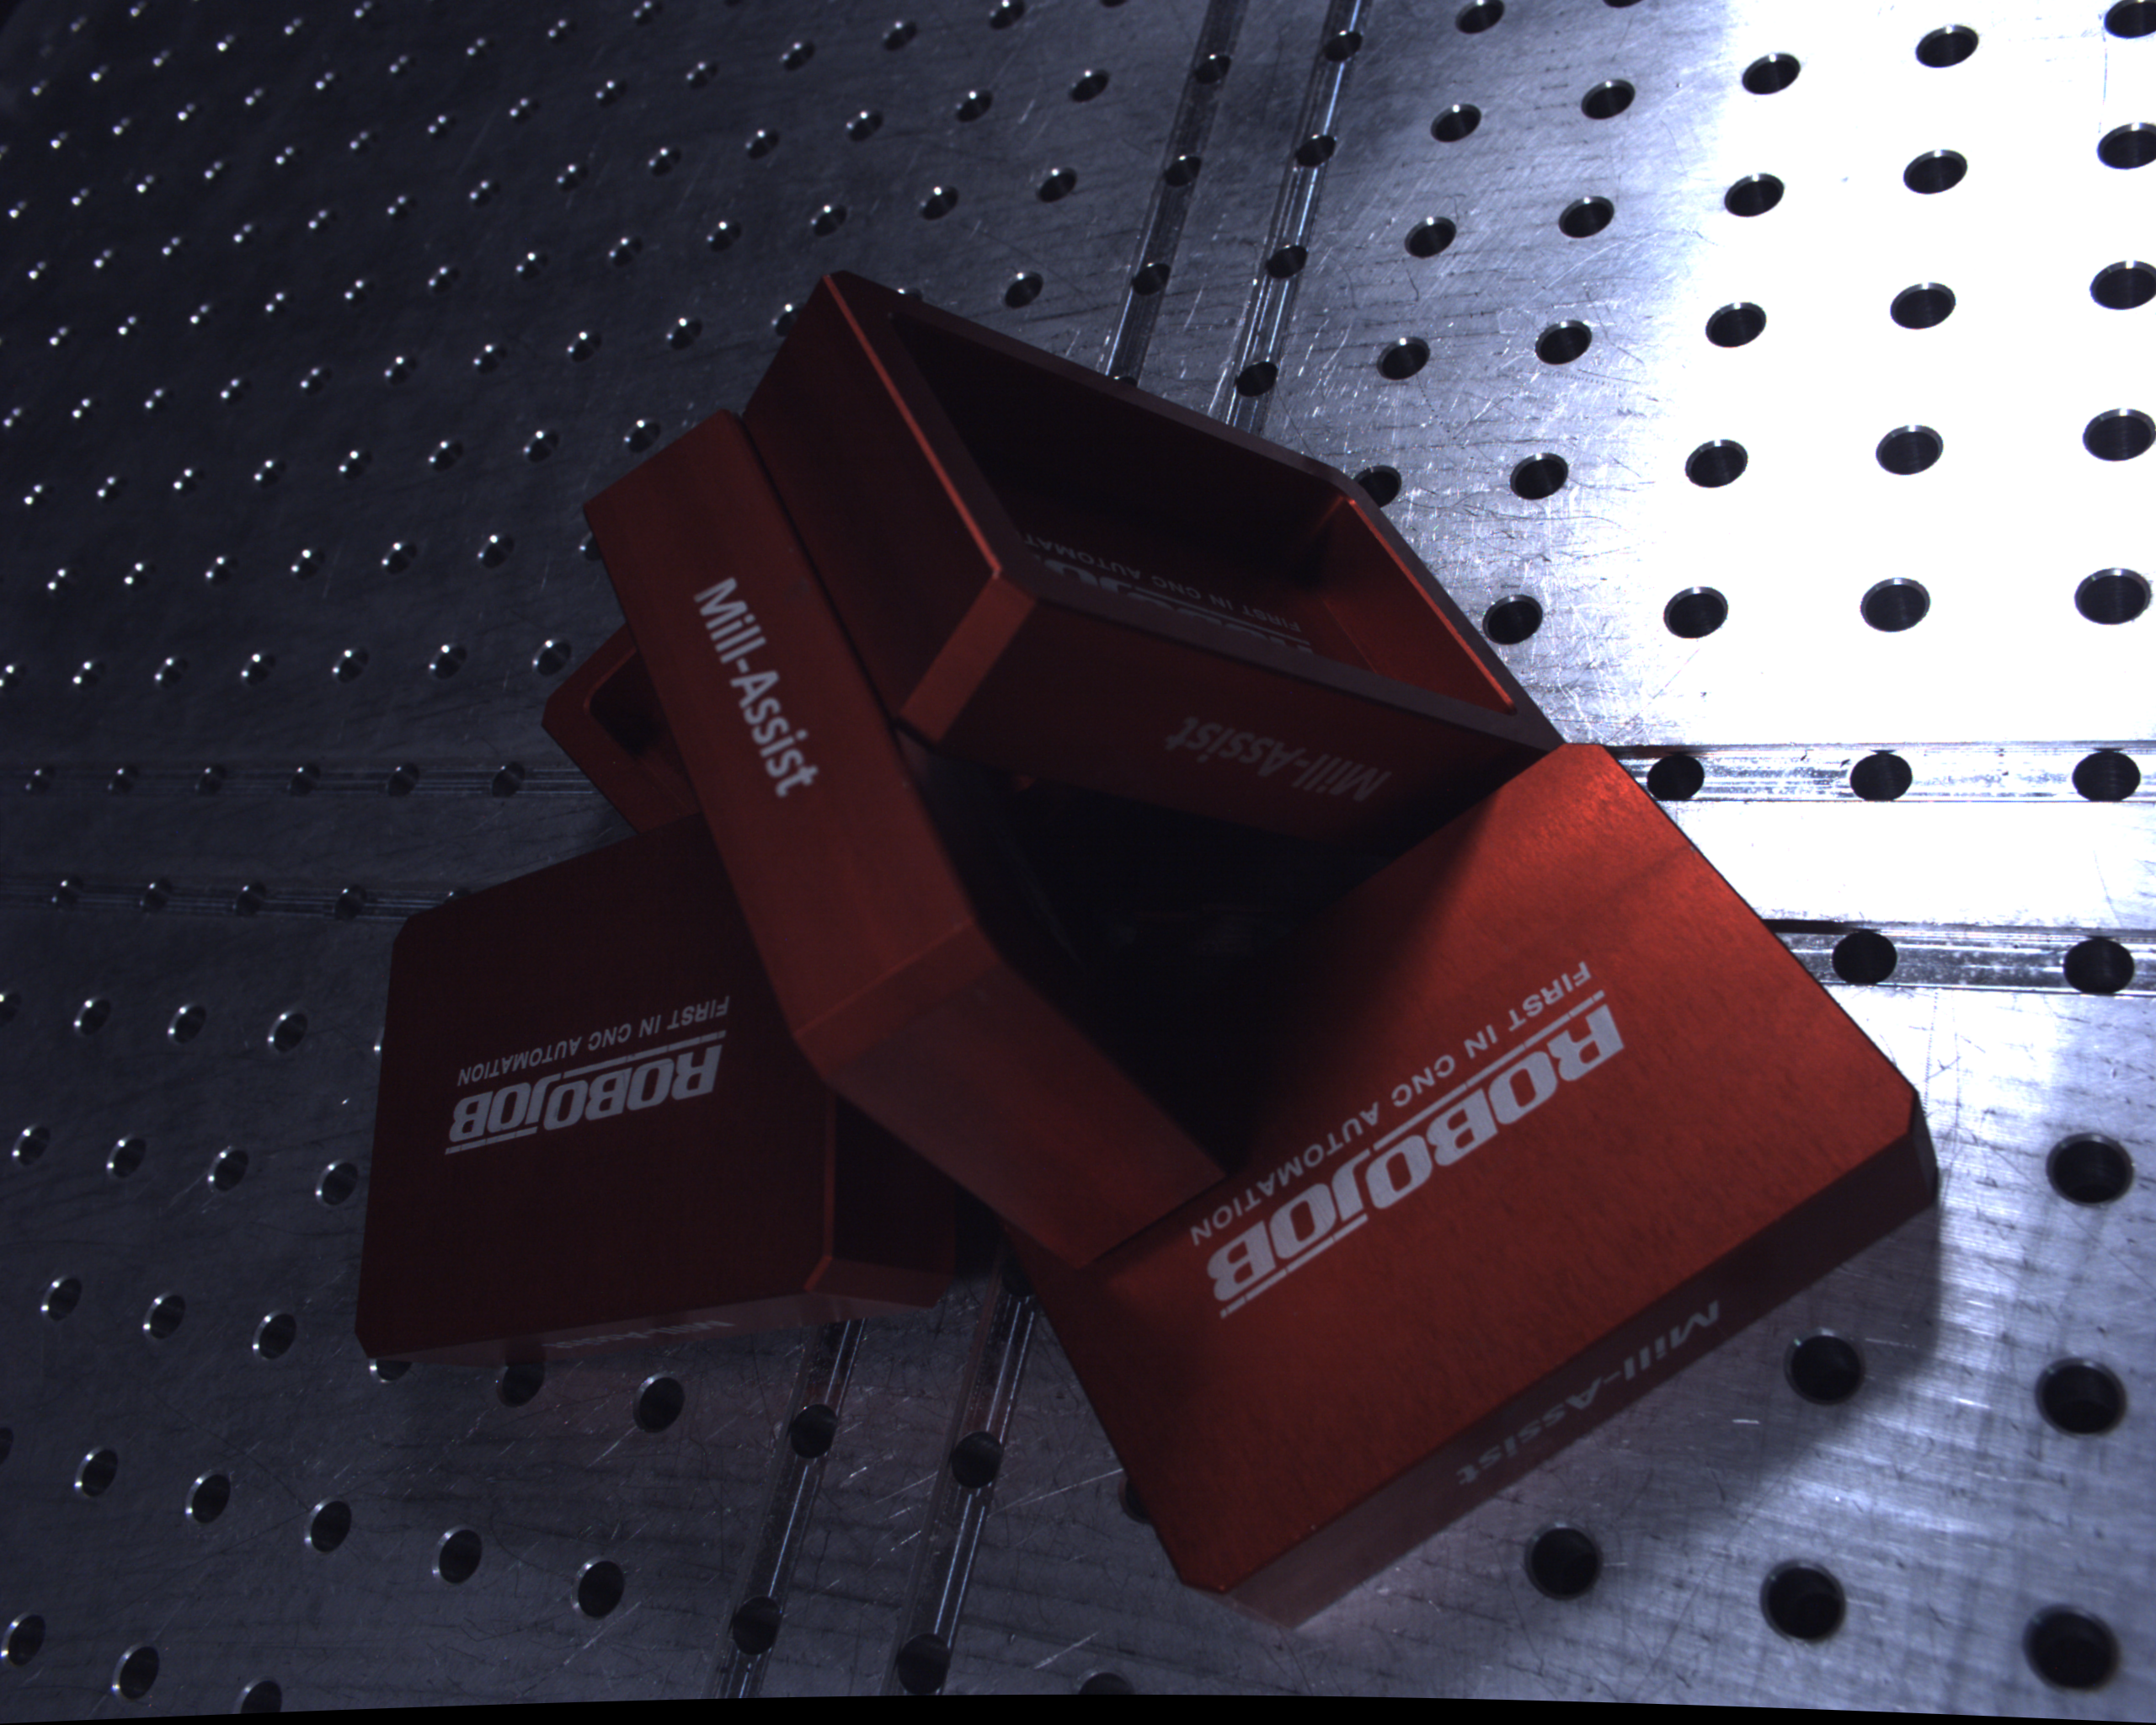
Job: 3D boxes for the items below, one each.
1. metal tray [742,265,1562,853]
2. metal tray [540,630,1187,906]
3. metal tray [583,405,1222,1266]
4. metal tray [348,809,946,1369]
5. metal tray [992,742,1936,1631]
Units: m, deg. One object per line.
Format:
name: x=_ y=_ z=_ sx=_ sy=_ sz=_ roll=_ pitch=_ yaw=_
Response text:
metal tray: x=0.016 y=-0.049 z=0.362 sx=0.030 sy=0.131 sz=0.090 roll=-53 pitch=46 yaw=28
metal tray: x=-0.048 y=-0.025 z=0.443 sx=0.090 sy=0.030 sz=0.130 roll=-45 pitch=51 yaw=-4
metal tray: x=-0.030 y=-0.006 z=0.345 sx=0.030 sy=0.090 sz=0.130 roll=-33 pitch=52 yaw=6
metal tray: x=-0.082 y=0.043 z=0.389 sx=0.130 sy=0.030 sz=0.090 roll=-17 pitch=65 yaw=36
metal tray: x=0.058 y=0.050 z=0.342 sx=0.130 sy=0.030 sz=0.090 roll=-35 pitch=51 yaw=4
